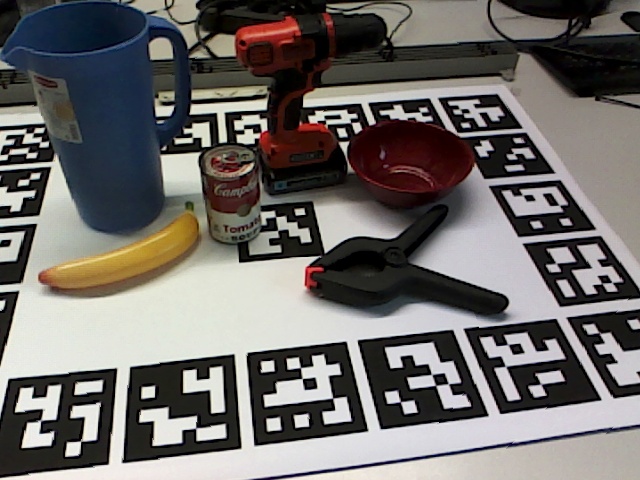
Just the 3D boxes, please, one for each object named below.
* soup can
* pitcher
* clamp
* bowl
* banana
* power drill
[{"bbox_3d":[-0.105,-0.061,0.730,0.068,0.102,0.068,-1,35,0],"label":"soup can"},{"bbox_3d":[-0.233,-0.142,0.709,0.188,0.242,0.134,-24,46,-25],"label":"pitcher"},{"bbox_3d":[0.081,0.020,0.685,0.202,0.036,0.166,-8,48,-10],"label":"clamp"},{"bbox_3d":[0.111,-0.096,0.803,0.161,0.055,0.162,0,45,-1],"label":"bowl"},{"bbox_3d":[-0.218,0.010,0.700,0.196,0.039,0.075,-25,41,-27],"label":"banana"},{"bbox_3d":[-0.005,-0.185,0.772,0.184,0.186,0.057,-9,45,-12],"label":"power drill"}]
